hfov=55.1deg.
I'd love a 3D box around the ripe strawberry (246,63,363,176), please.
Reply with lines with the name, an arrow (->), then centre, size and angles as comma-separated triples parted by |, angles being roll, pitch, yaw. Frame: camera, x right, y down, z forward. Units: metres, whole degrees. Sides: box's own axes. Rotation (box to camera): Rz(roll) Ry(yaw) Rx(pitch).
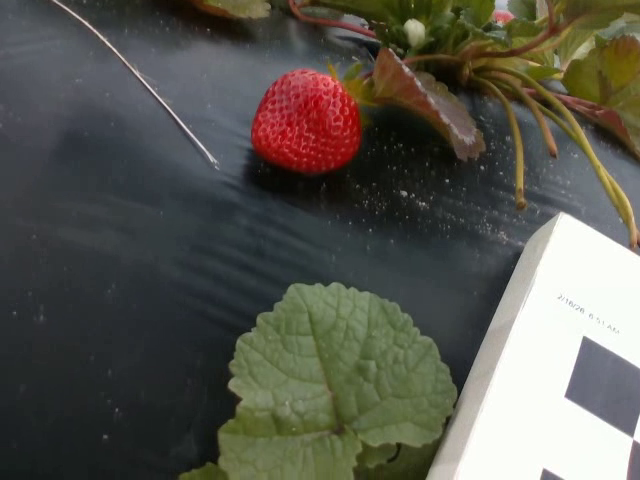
ripe strawberry -> -0.005, -0.028, 0.143 | 0.032, 0.028, 0.023 | -38, -19, -31
